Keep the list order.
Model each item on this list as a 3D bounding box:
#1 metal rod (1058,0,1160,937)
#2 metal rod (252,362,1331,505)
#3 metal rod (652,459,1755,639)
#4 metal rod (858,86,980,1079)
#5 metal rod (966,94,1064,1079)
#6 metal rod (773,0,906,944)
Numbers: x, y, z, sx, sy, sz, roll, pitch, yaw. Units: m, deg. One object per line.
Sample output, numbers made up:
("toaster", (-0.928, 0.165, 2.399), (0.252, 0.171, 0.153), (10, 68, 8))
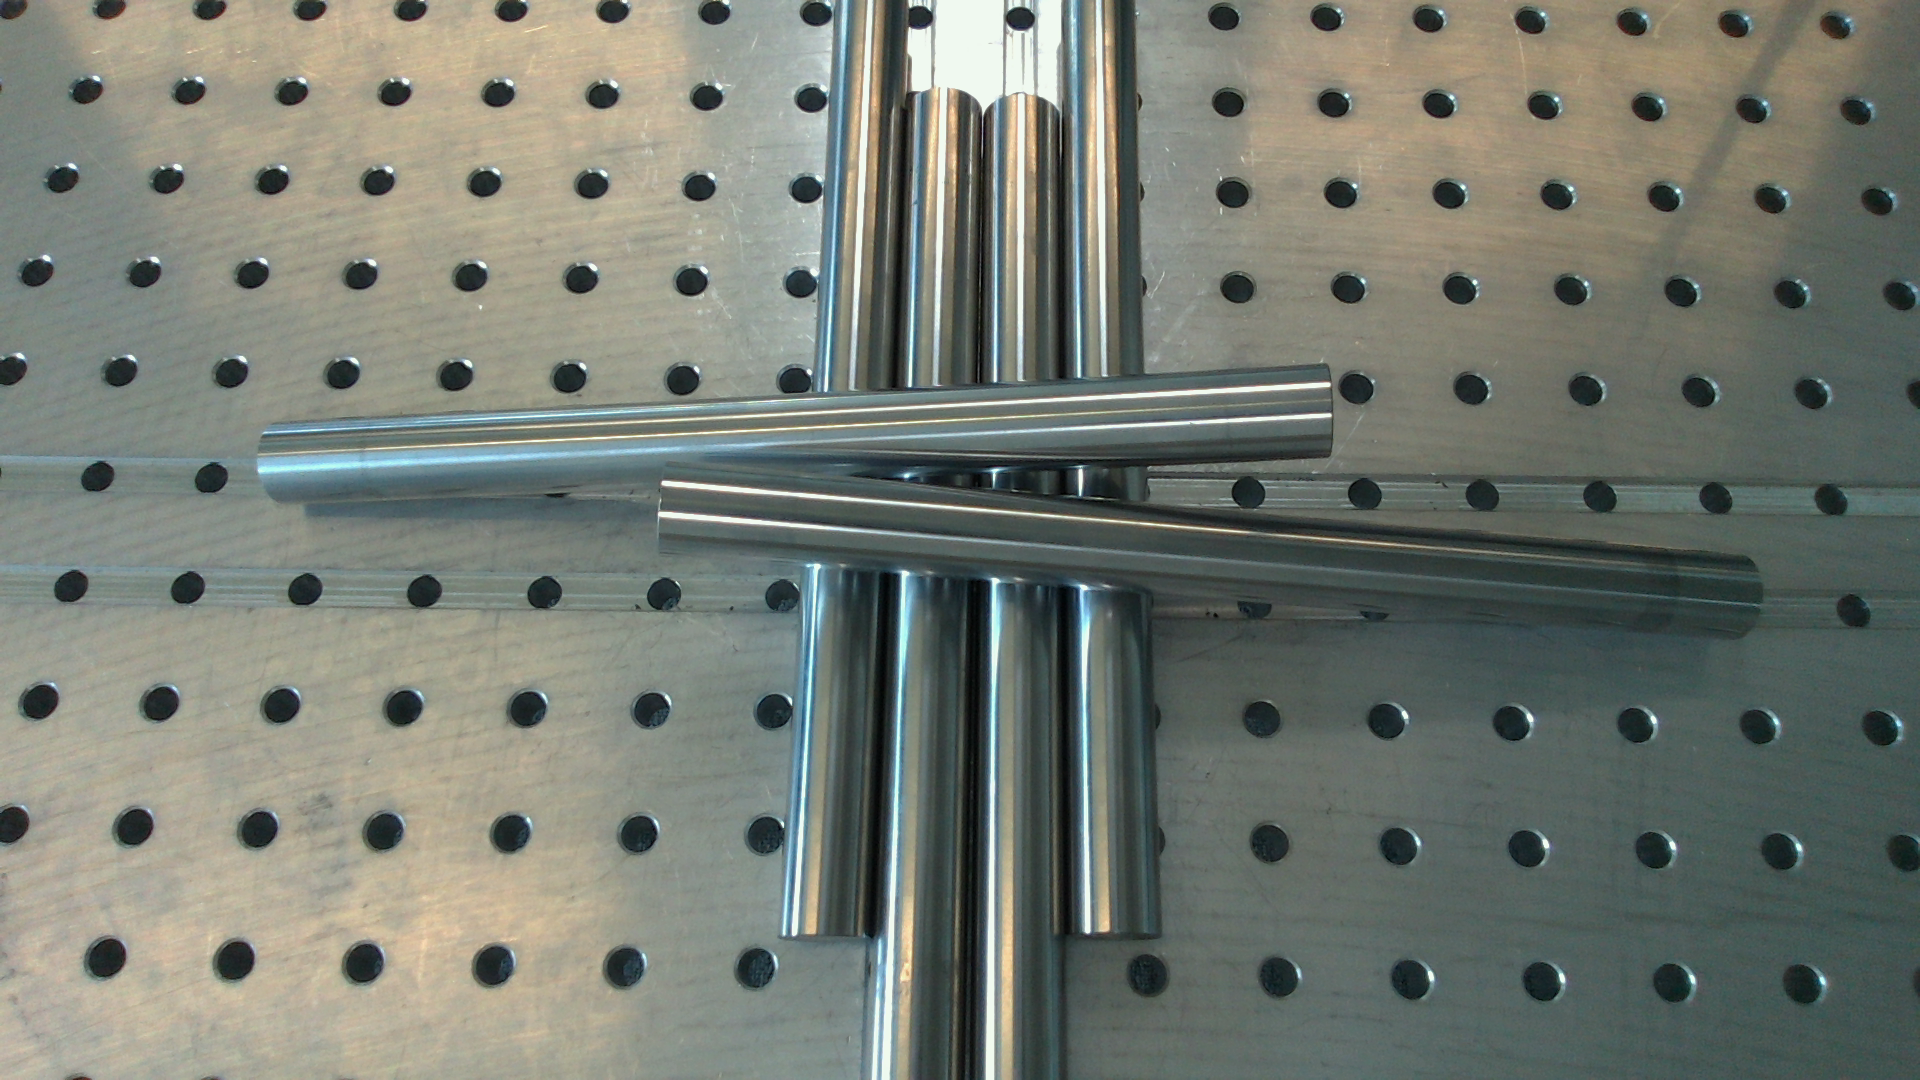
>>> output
("metal rod", (0.042, -0.038, 0.410), (0.025, 0.025, 0.300), (1, 70, 0))
("metal rod", (-0.052, -0.029, 0.383), (0.300, 0.025, 0.025), (-2, 70, 9))
("metal rod", (0.071, 0.004, 0.374), (0.300, 0.025, 0.025), (5, 70, -8))
("metal rod", (-0.010, 0.001, 0.395), (0.025, 0.025, 0.300), (1, 70, 1))
("metal rod", (0.016, 0.004, 0.397), (0.025, 0.025, 0.300), (1, 70, 0))
("metal rod", (-0.033, -0.037, 0.410), (0.025, 0.025, 0.300), (1, 70, 0))
